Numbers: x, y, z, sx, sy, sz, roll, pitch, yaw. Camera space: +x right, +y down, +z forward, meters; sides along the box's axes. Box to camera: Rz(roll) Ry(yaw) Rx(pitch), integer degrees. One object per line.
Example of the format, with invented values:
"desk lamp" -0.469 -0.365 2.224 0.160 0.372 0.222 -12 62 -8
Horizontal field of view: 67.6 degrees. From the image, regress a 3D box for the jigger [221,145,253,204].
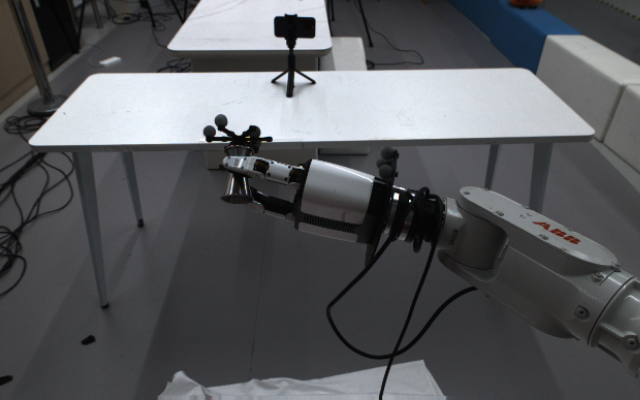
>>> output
"jigger" -0.108 -0.034 0.636 0.043 0.043 0.071 0 75 -3
